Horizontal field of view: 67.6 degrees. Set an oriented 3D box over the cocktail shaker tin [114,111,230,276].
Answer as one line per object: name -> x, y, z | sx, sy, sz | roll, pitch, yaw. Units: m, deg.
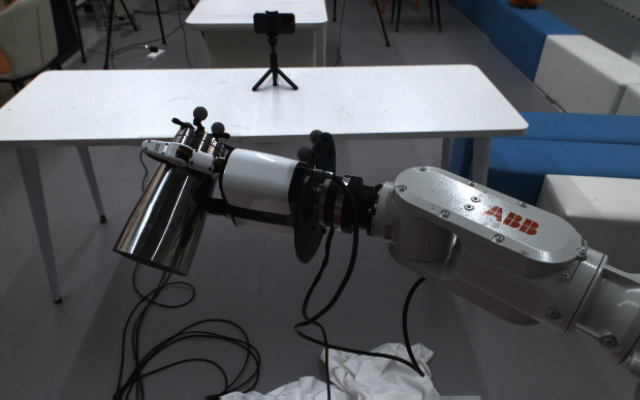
cocktail shaker tin -> -0.178, -0.002, 0.607 | 0.093, 0.093, 0.170 | 13, 71, 15
